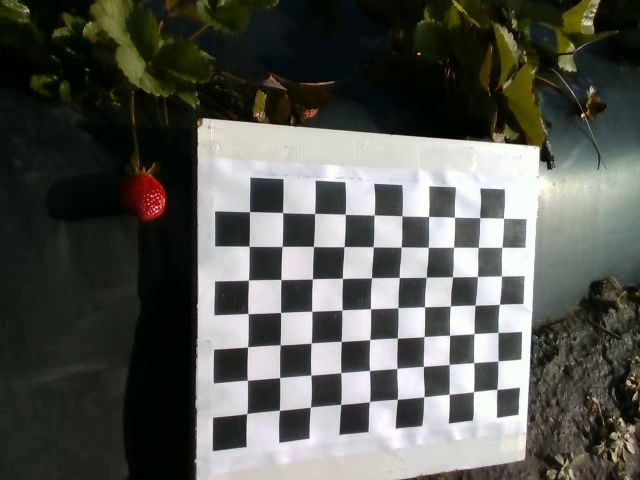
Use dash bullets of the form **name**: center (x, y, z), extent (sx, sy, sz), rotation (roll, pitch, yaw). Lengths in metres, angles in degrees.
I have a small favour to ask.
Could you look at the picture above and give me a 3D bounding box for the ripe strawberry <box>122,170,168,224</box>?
- **ripe strawberry**: center (-0.100, -0.021, 0.350), extent (0.034, 0.033, 0.038), rotation (-1, 41, -22)
